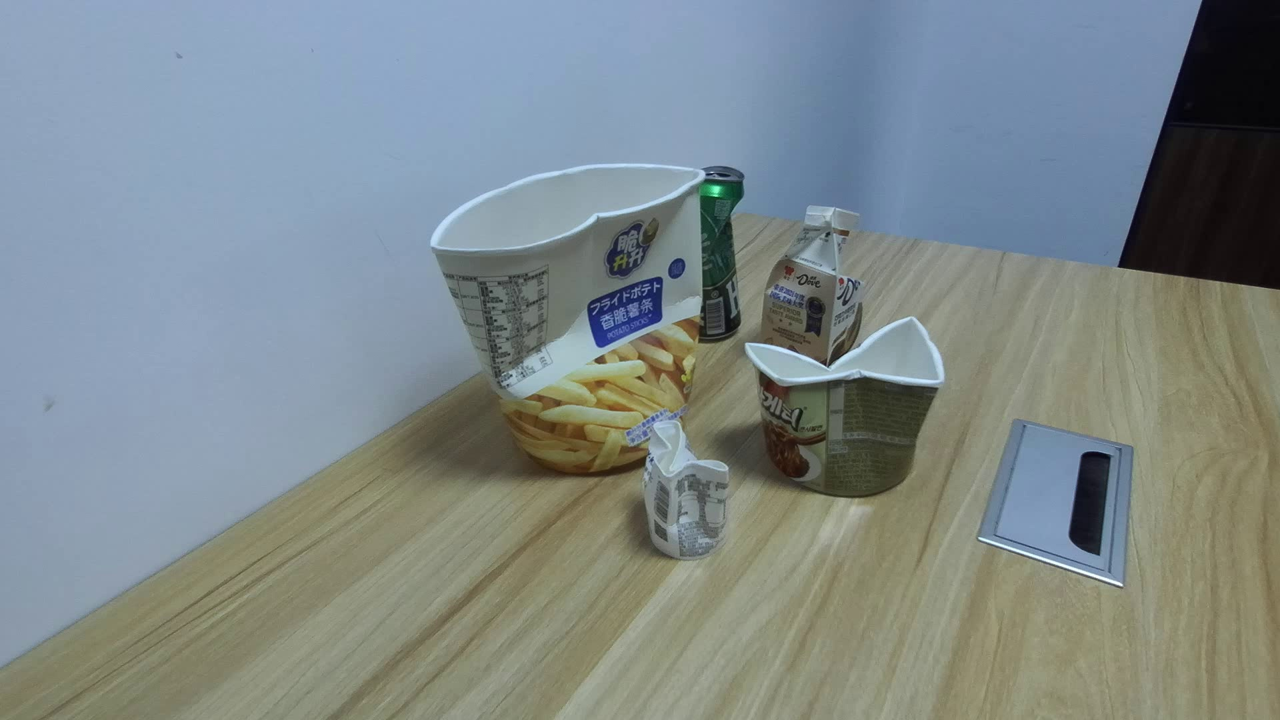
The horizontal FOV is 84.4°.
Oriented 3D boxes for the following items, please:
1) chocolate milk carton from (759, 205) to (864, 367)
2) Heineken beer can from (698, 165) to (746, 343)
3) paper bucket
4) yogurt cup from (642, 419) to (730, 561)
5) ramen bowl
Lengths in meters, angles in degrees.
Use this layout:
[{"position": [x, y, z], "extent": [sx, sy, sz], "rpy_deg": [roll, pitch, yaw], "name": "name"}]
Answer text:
[{"position": [0.160, -0.069, 0.635], "extent": [0.073, 0.156, 0.076], "rpy_deg": [22, 36, 35], "name": "chocolate milk carton"}, {"position": [0.069, -0.101, 0.694], "extent": [0.078, 0.164, 0.065], "rpy_deg": [-14, 30, -25], "name": "Heineken beer can"}, {"position": [-0.034, -0.034, 0.544], "extent": [0.147, 0.199, 0.218], "rpy_deg": [6, 30, 14], "name": "paper bucket"}, {"position": [0.029, 0.083, 0.454], "extent": [0.055, 0.072, 0.055], "rpy_deg": [-4, 31, 1], "name": "yogurt cup"}, {"position": [0.143, 0.029, 0.519], "extent": [0.128, 0.093, 0.111], "rpy_deg": [0, 30, 5], "name": "ramen bowl"}]
